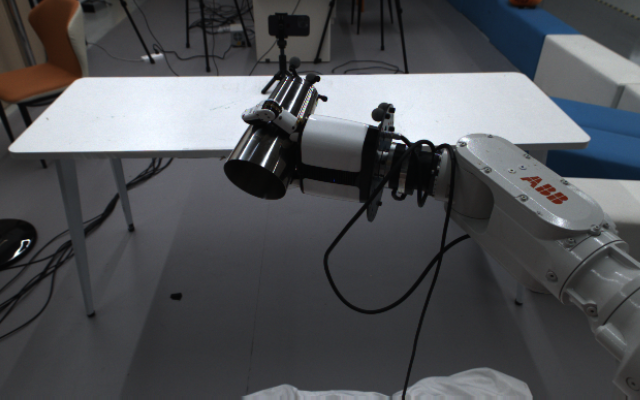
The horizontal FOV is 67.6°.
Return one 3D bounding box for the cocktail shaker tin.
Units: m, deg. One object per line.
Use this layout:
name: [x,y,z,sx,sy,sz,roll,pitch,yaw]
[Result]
cocktail shaker tin: [-0.062,-0.095,0.694,0.093,0.093,0.170,14,61,17]
